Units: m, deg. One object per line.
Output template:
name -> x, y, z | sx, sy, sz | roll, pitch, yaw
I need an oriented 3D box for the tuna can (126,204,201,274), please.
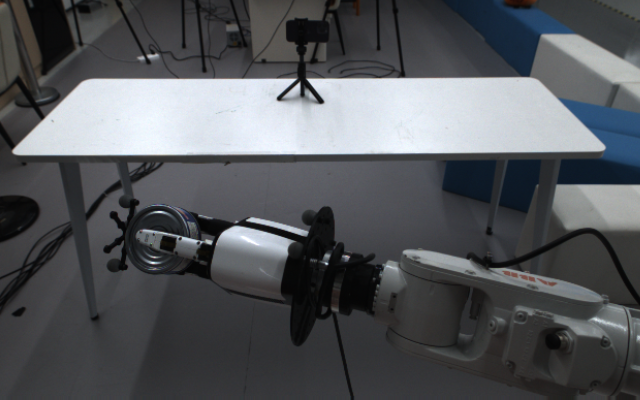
tuna can -> -0.188, 0.048, 0.588 | 0.085, 0.085, 0.034 | 10, -5, 11
